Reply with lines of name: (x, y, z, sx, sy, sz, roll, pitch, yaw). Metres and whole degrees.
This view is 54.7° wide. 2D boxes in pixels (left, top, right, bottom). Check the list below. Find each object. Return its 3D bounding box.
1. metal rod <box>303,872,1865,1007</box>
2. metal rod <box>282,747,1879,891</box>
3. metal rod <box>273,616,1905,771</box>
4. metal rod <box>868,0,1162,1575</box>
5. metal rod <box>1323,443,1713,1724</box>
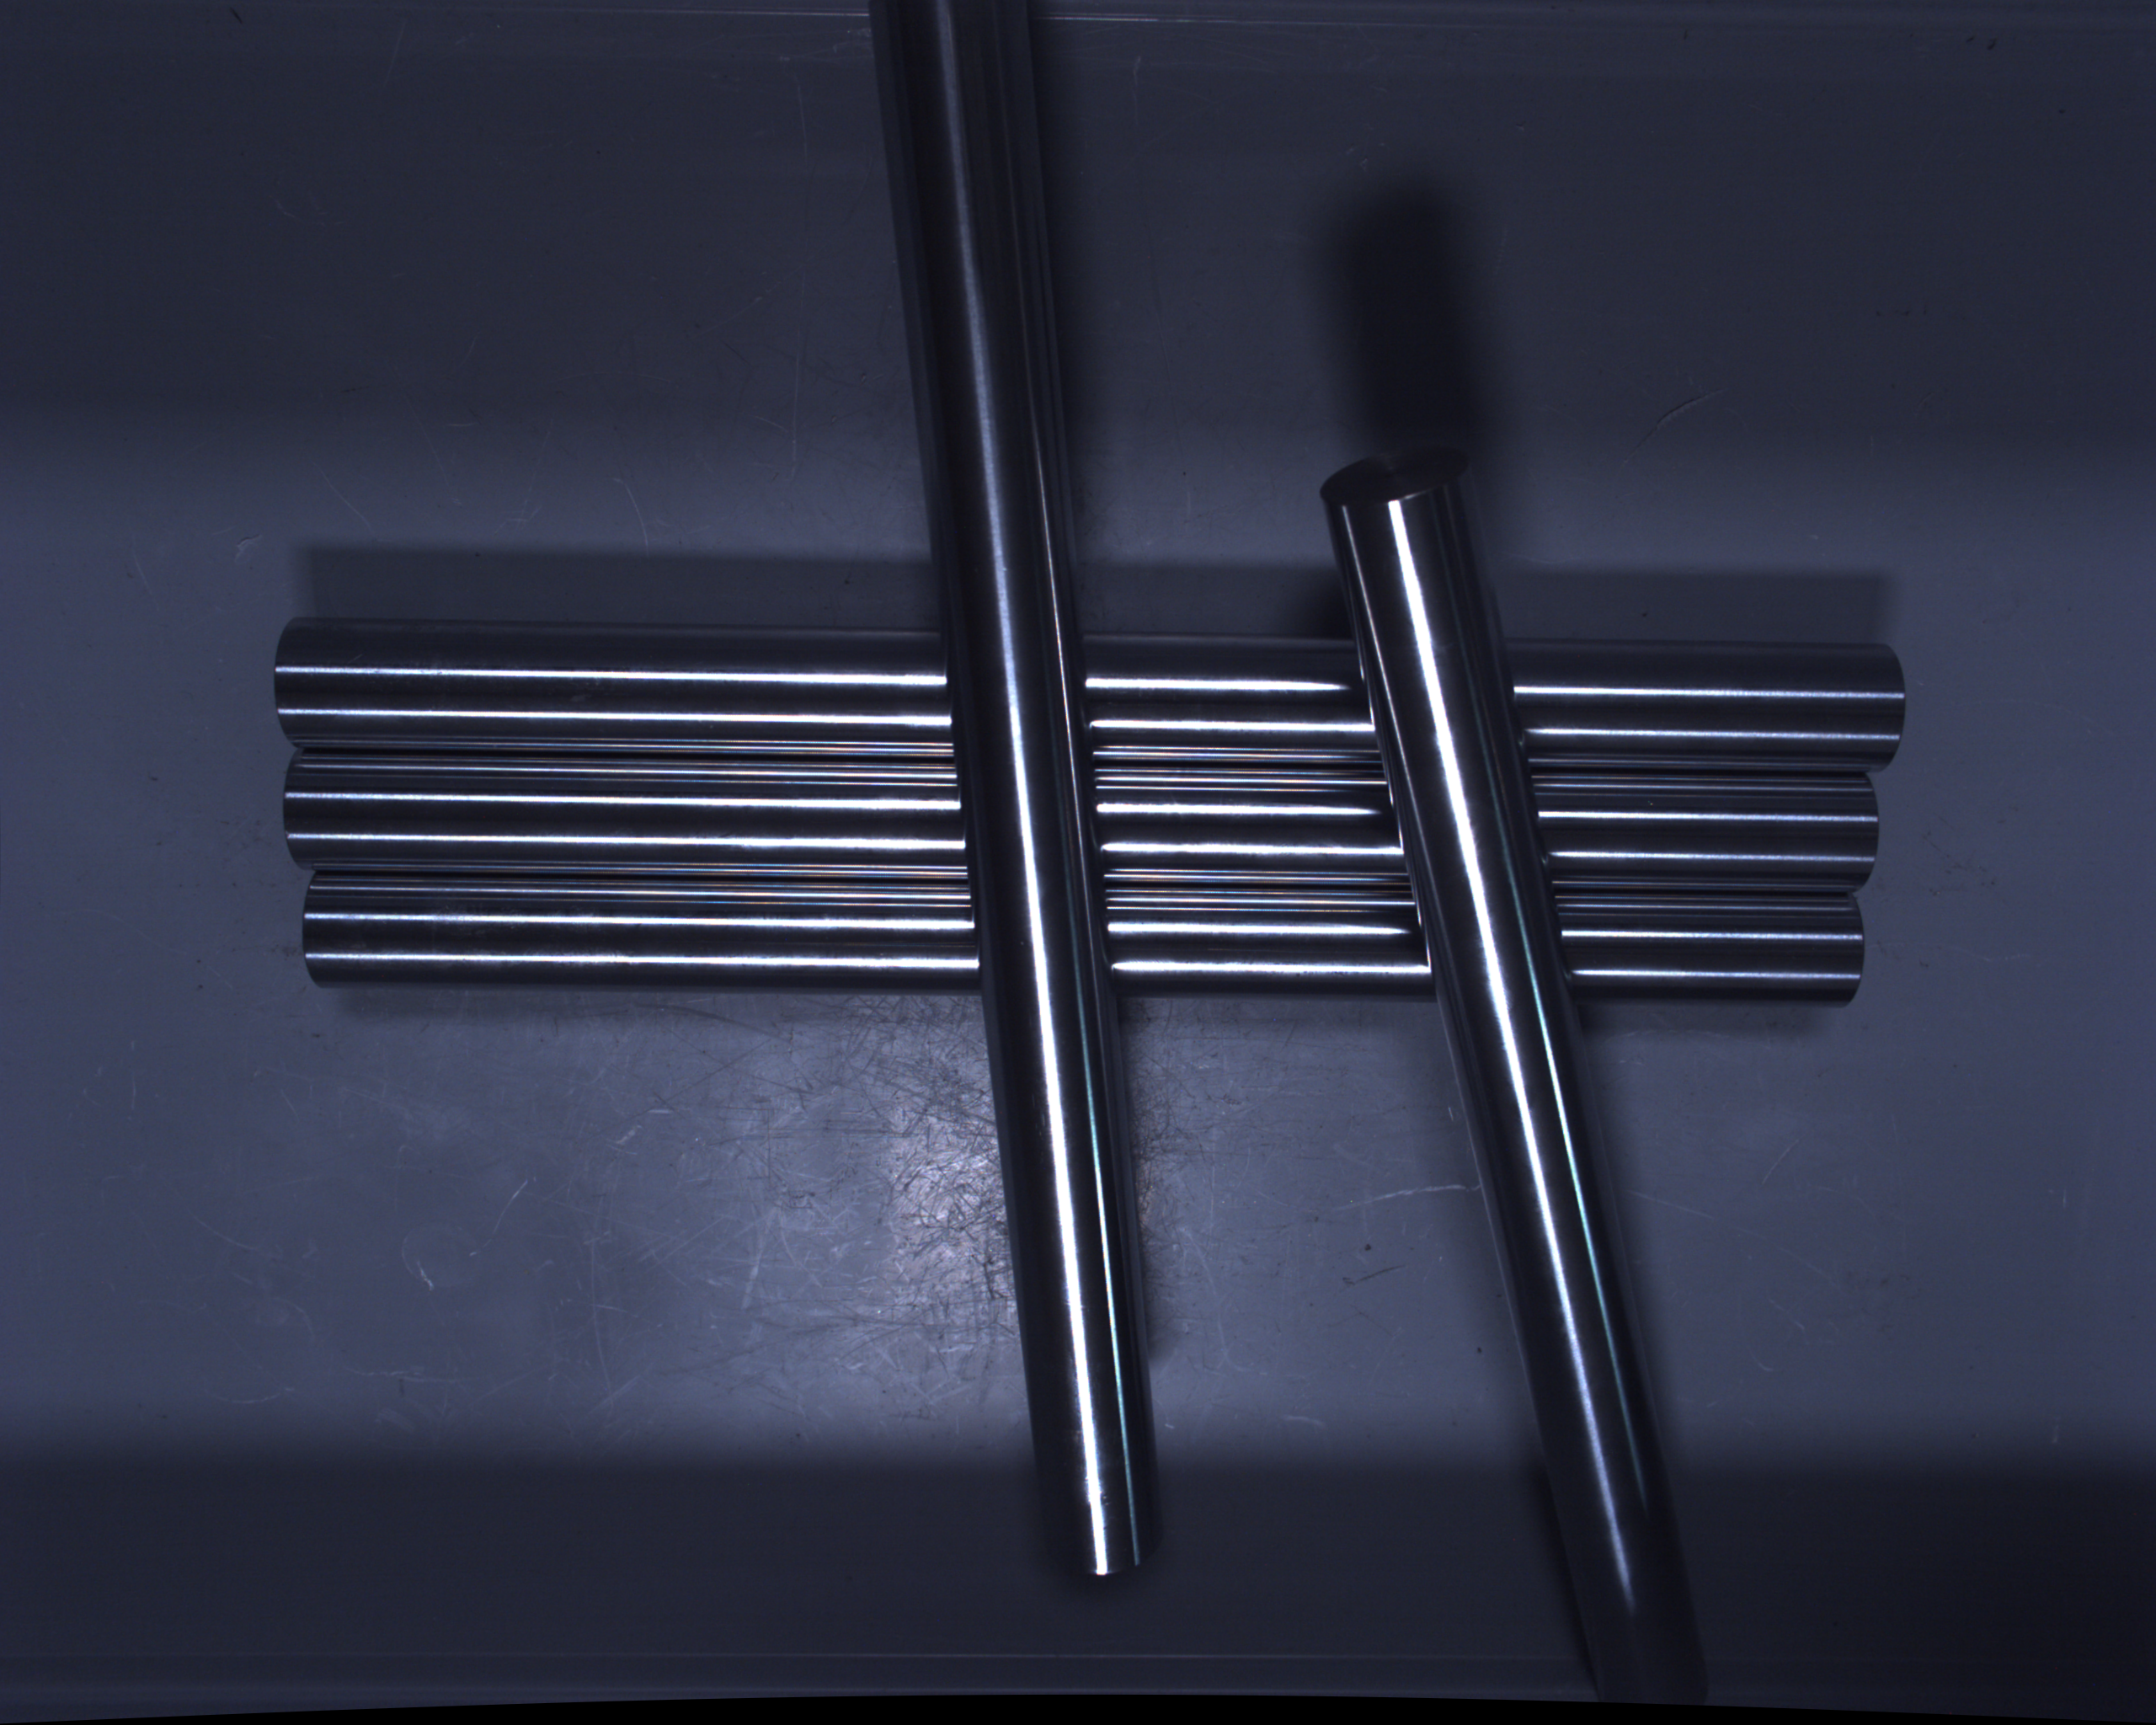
metal rod: (0.002, 0.014, 0.415, 0.302, 0.025, 0.025, 1, 110, -1)
metal rod: (0.002, -0.009, 0.407, 0.302, 0.025, 0.025, 1, 110, -1)
metal rod: (0.003, -0.032, 0.398, 0.302, 0.025, 0.025, 1, 110, -1)
metal rod: (-0.008, 0.001, 0.383, 0.025, 0.025, 0.298, -5, 110, 1)
metal rod: (0.093, 0.062, 0.413, 0.025, 0.025, 0.298, -15, 117, 5)
